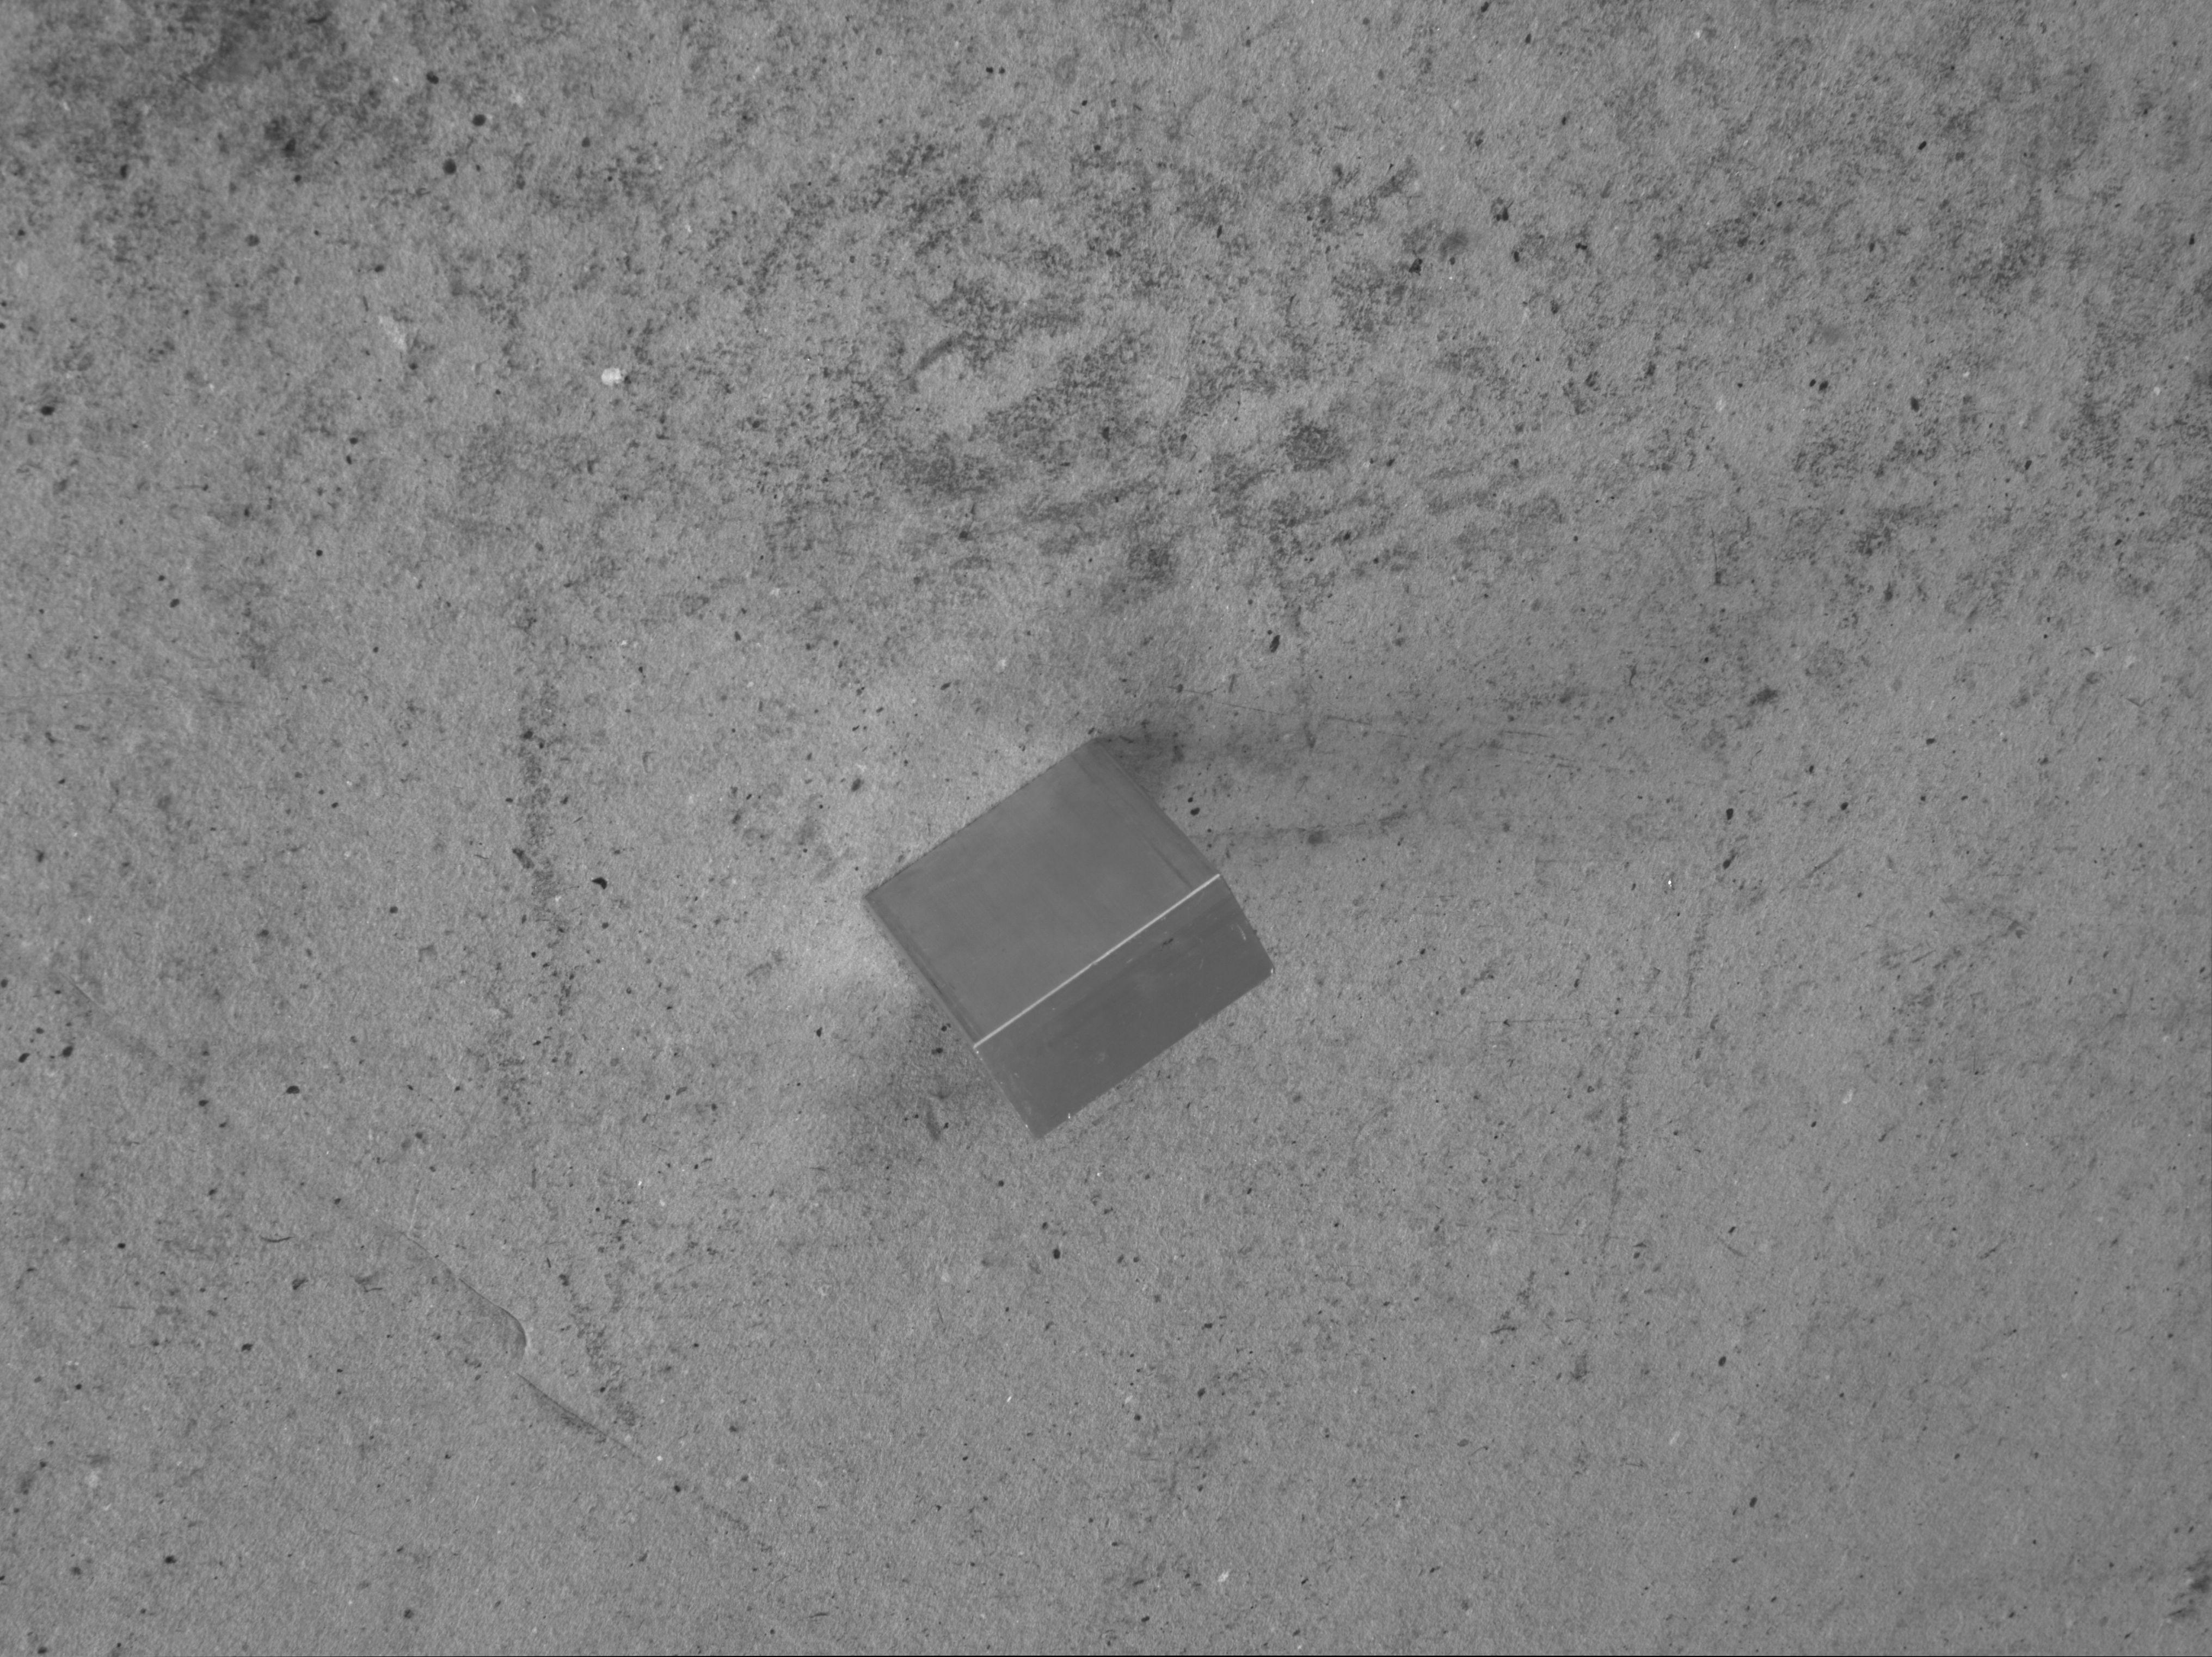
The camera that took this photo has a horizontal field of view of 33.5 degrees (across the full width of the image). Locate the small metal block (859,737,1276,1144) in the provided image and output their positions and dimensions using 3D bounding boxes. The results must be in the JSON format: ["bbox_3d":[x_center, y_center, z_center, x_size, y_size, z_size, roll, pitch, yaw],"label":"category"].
[{"bbox_3d":[-0.007,0.018,0.629,0.050,0.050,0.025,-35,129,-6],"label":"small metal block"}]
